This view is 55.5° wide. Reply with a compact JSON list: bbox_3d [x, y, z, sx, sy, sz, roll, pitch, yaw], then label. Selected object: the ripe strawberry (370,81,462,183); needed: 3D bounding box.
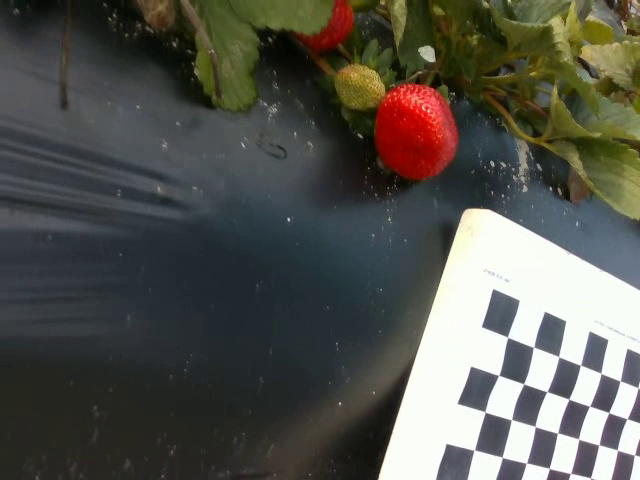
[{"bbox_3d":[0.025,-0.025,0.139,0.022,0.025,0.030,5,10,-4],"label":"ripe strawberry"}]
